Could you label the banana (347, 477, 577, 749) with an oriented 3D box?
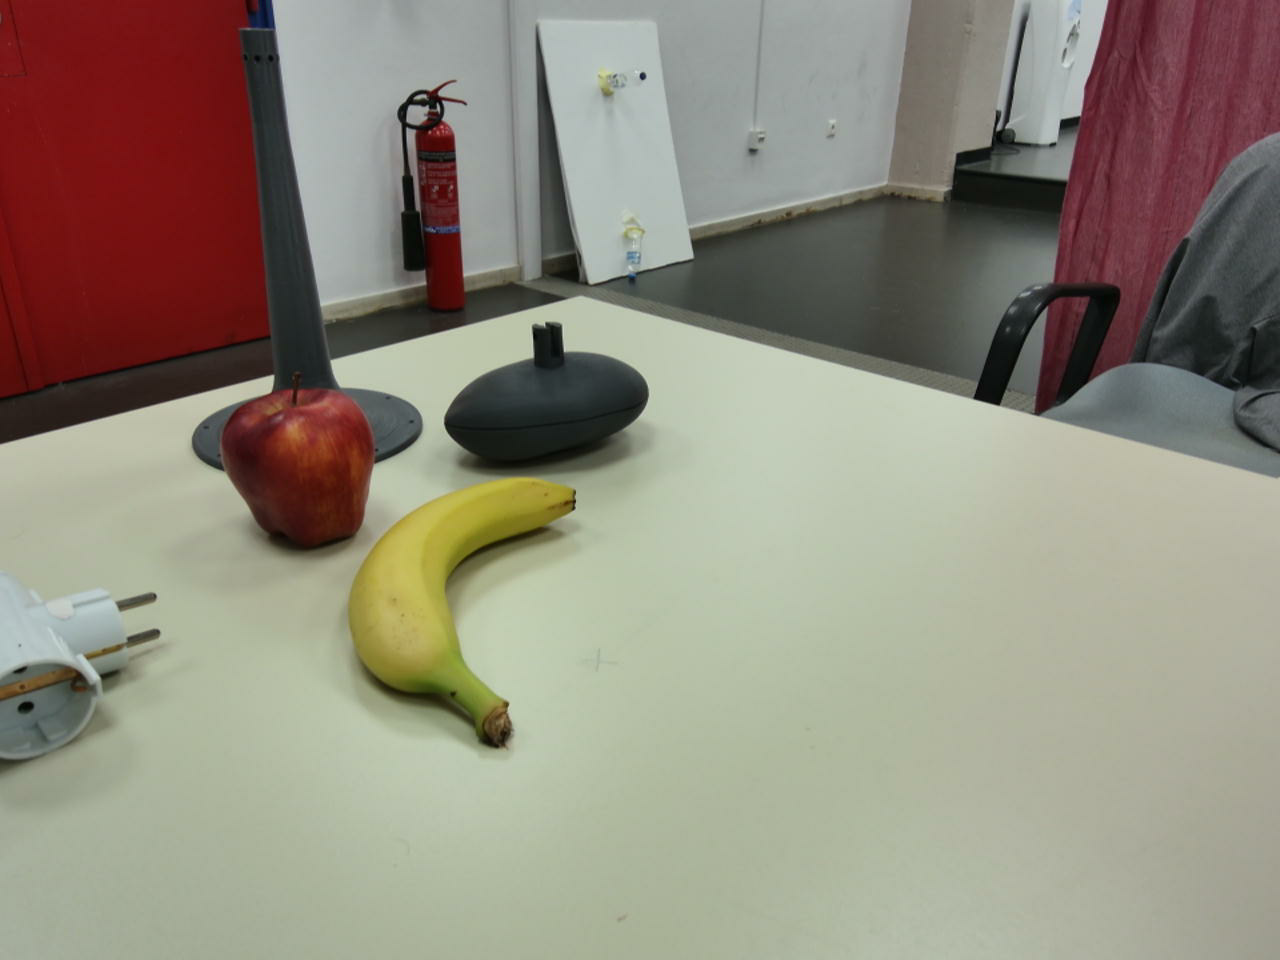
[{"bbox_3d":[-0.090,0.048,0.485,0.094,0.041,0.196,3,24,4],"label":"banana"}]
